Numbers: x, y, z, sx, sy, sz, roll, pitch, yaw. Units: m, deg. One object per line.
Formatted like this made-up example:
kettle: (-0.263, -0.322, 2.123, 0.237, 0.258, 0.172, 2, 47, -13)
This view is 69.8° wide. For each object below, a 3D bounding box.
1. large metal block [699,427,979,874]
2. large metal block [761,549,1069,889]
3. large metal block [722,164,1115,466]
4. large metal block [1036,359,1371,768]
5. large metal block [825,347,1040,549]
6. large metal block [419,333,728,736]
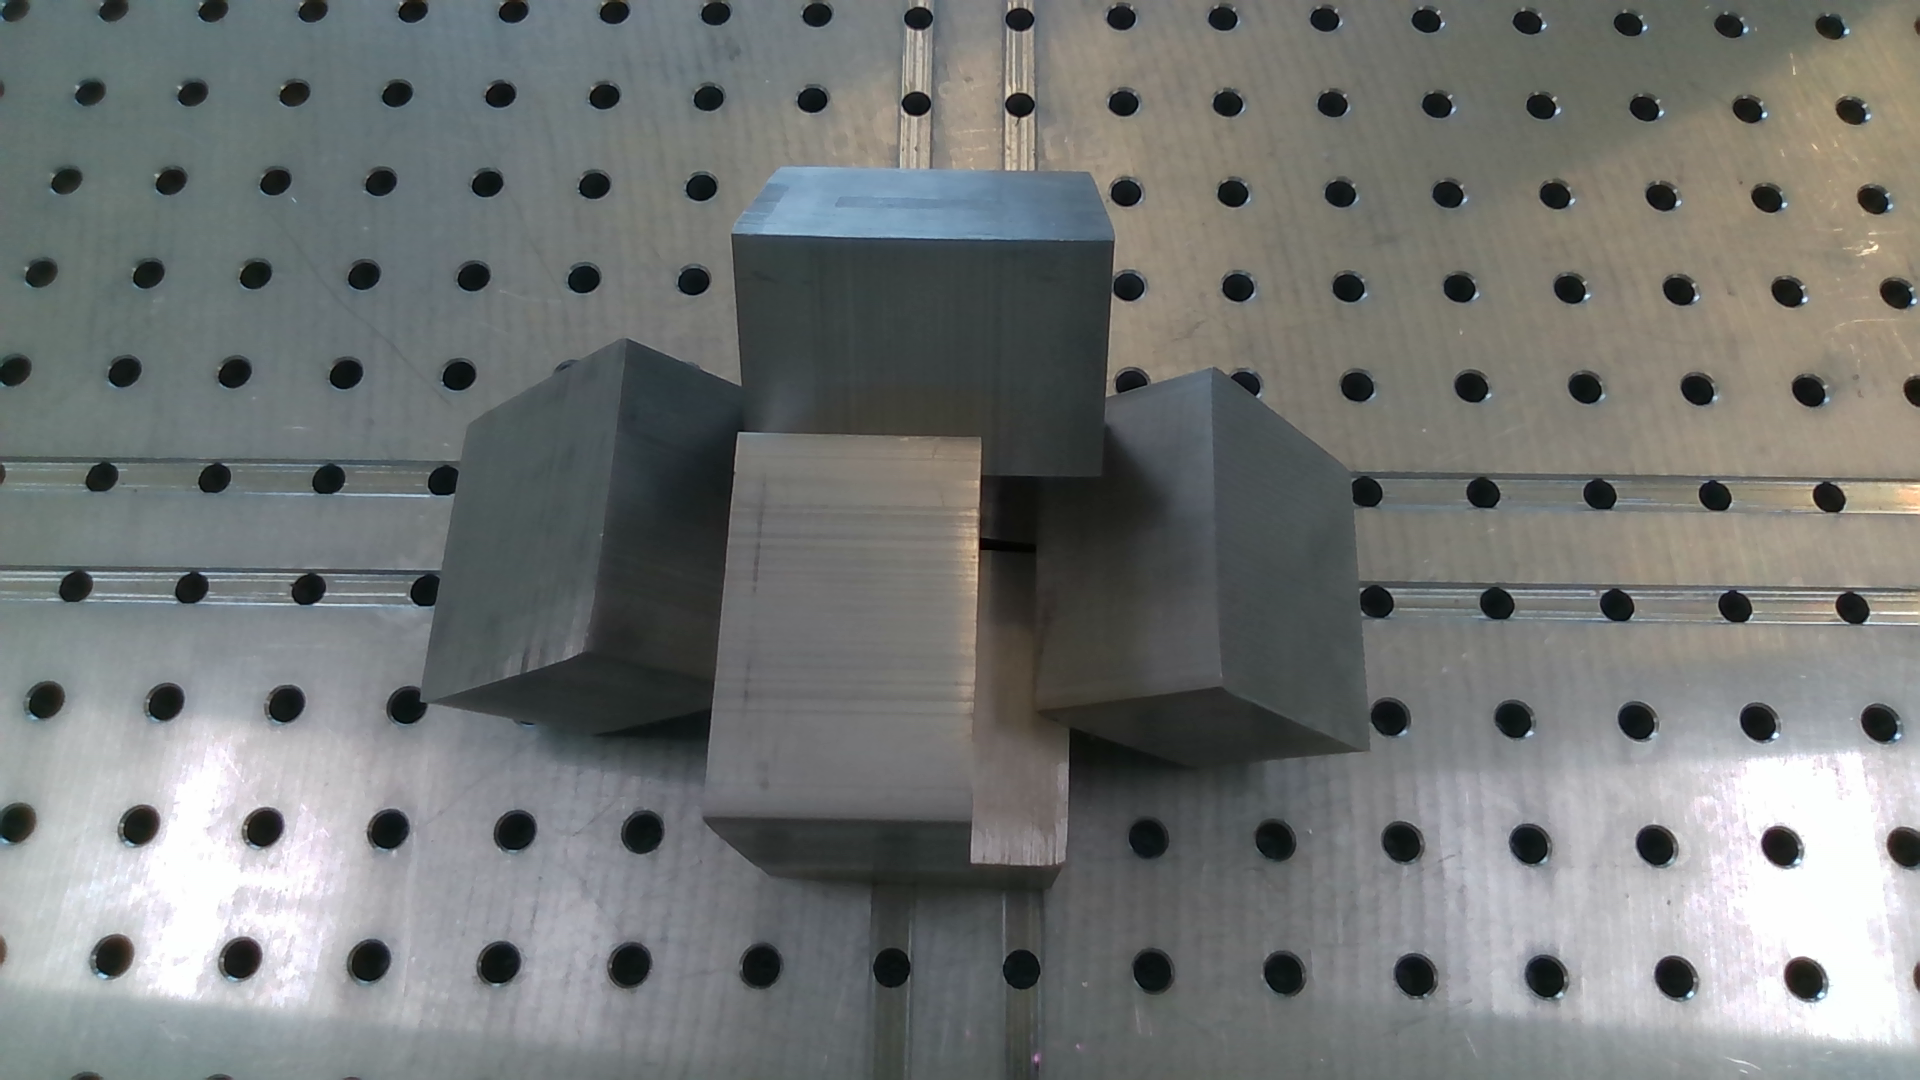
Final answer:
large metal block: (-0.022, 0.029, 0.305, 0.050, 0.080, 0.080, 1, 70, 0)
large metal block: (-0.013, 0.048, 0.367, 0.080, 0.050, 0.080, 3, 70, 1)
large metal block: (-0.008, -0.057, 0.327, 0.080, 0.080, 0.050, 1, 115, 1)
large metal block: (0.064, 0.011, 0.357, 0.050, 0.080, 0.080, -13, 65, 36)
large metal block: (-0.008, -0.032, 0.396, 0.080, 0.050, 0.080, 6, 70, 2)
large metal block: (-0.093, 0.003, 0.362, 0.080, 0.050, 0.080, -17, 63, 42)
